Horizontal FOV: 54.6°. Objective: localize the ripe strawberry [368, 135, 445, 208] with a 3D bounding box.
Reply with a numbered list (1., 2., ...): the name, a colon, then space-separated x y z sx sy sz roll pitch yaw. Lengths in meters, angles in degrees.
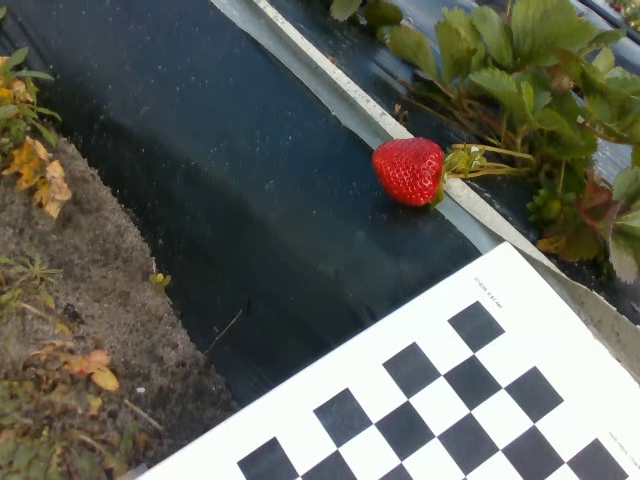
1. ripe strawberry: 0.050 -0.043 0.359 0.052 0.048 0.030 17 -30 -20
